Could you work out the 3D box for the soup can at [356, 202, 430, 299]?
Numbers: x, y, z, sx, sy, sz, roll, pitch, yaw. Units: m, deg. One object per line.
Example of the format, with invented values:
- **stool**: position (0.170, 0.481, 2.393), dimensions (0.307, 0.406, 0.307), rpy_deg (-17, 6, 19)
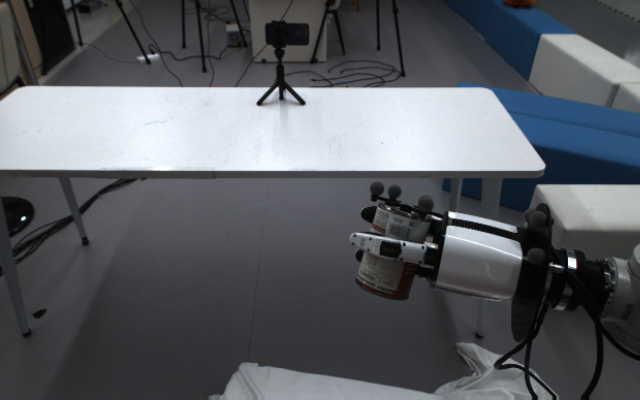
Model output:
- **soup can**: position (0.090, 0.060, 0.584), dimensions (0.067, 0.101, 0.067), rpy_deg (15, 7, -2)
